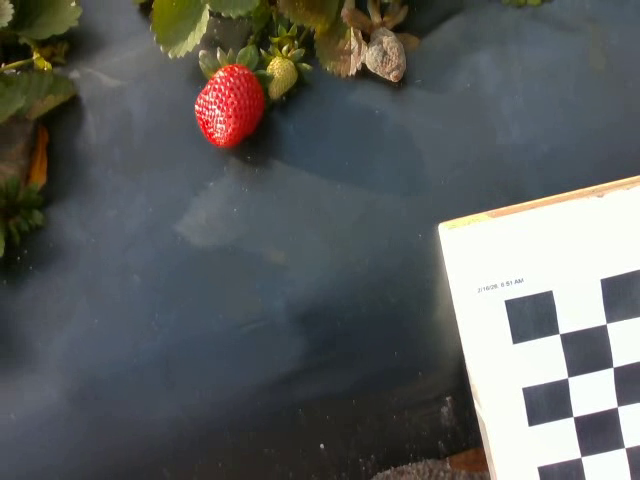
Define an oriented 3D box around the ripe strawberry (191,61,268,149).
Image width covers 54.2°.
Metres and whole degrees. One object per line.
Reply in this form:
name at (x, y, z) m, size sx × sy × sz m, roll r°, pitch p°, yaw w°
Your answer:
ripe strawberry at (-0.050, -0.068, 0.335) m, size 0.045 × 0.058 × 0.051 m, roll -10°, pitch -37°, yaw 3°
